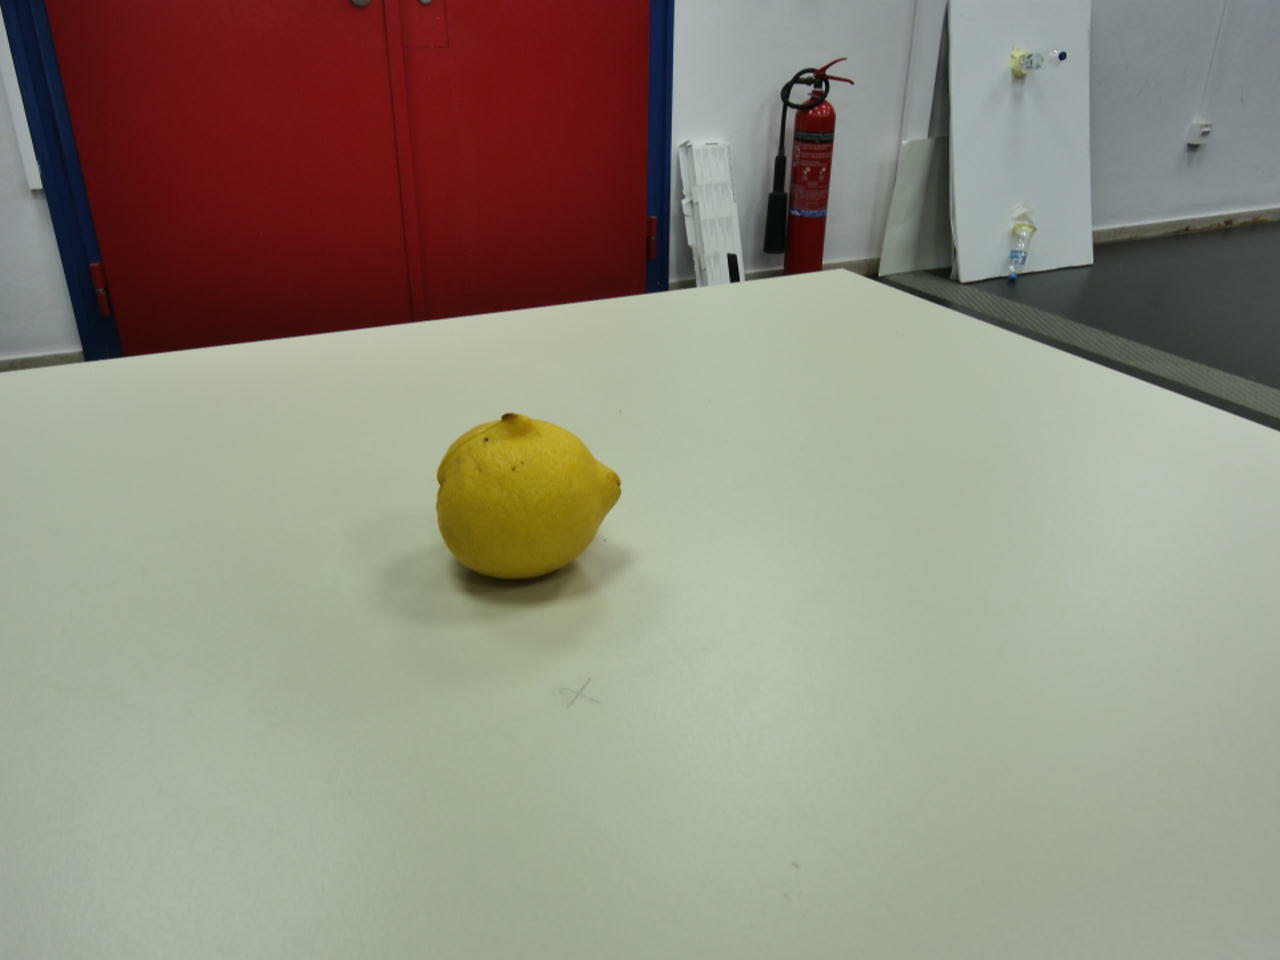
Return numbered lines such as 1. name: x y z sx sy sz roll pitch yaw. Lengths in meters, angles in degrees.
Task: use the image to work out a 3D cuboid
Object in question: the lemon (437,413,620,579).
1. lemon: -0.051 0.004 0.416 0.071 0.071 0.070 12 27 27
